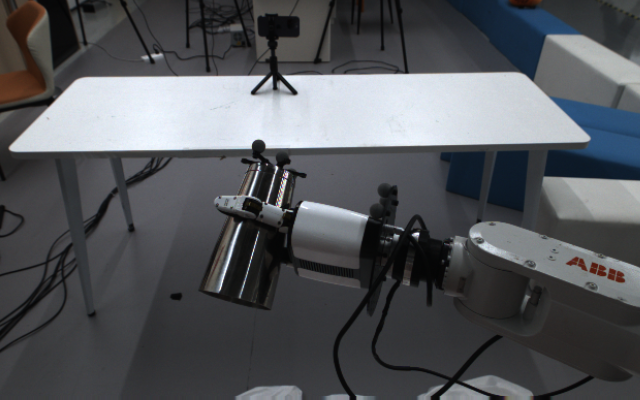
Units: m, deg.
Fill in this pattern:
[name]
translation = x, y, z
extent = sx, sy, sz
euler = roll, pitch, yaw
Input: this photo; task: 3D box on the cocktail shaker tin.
[cocktail shaker tin]
translation = -0.082, 0.044, 0.609
extent = 0.093, 0.093, 0.170
euler = 11, 71, 12
